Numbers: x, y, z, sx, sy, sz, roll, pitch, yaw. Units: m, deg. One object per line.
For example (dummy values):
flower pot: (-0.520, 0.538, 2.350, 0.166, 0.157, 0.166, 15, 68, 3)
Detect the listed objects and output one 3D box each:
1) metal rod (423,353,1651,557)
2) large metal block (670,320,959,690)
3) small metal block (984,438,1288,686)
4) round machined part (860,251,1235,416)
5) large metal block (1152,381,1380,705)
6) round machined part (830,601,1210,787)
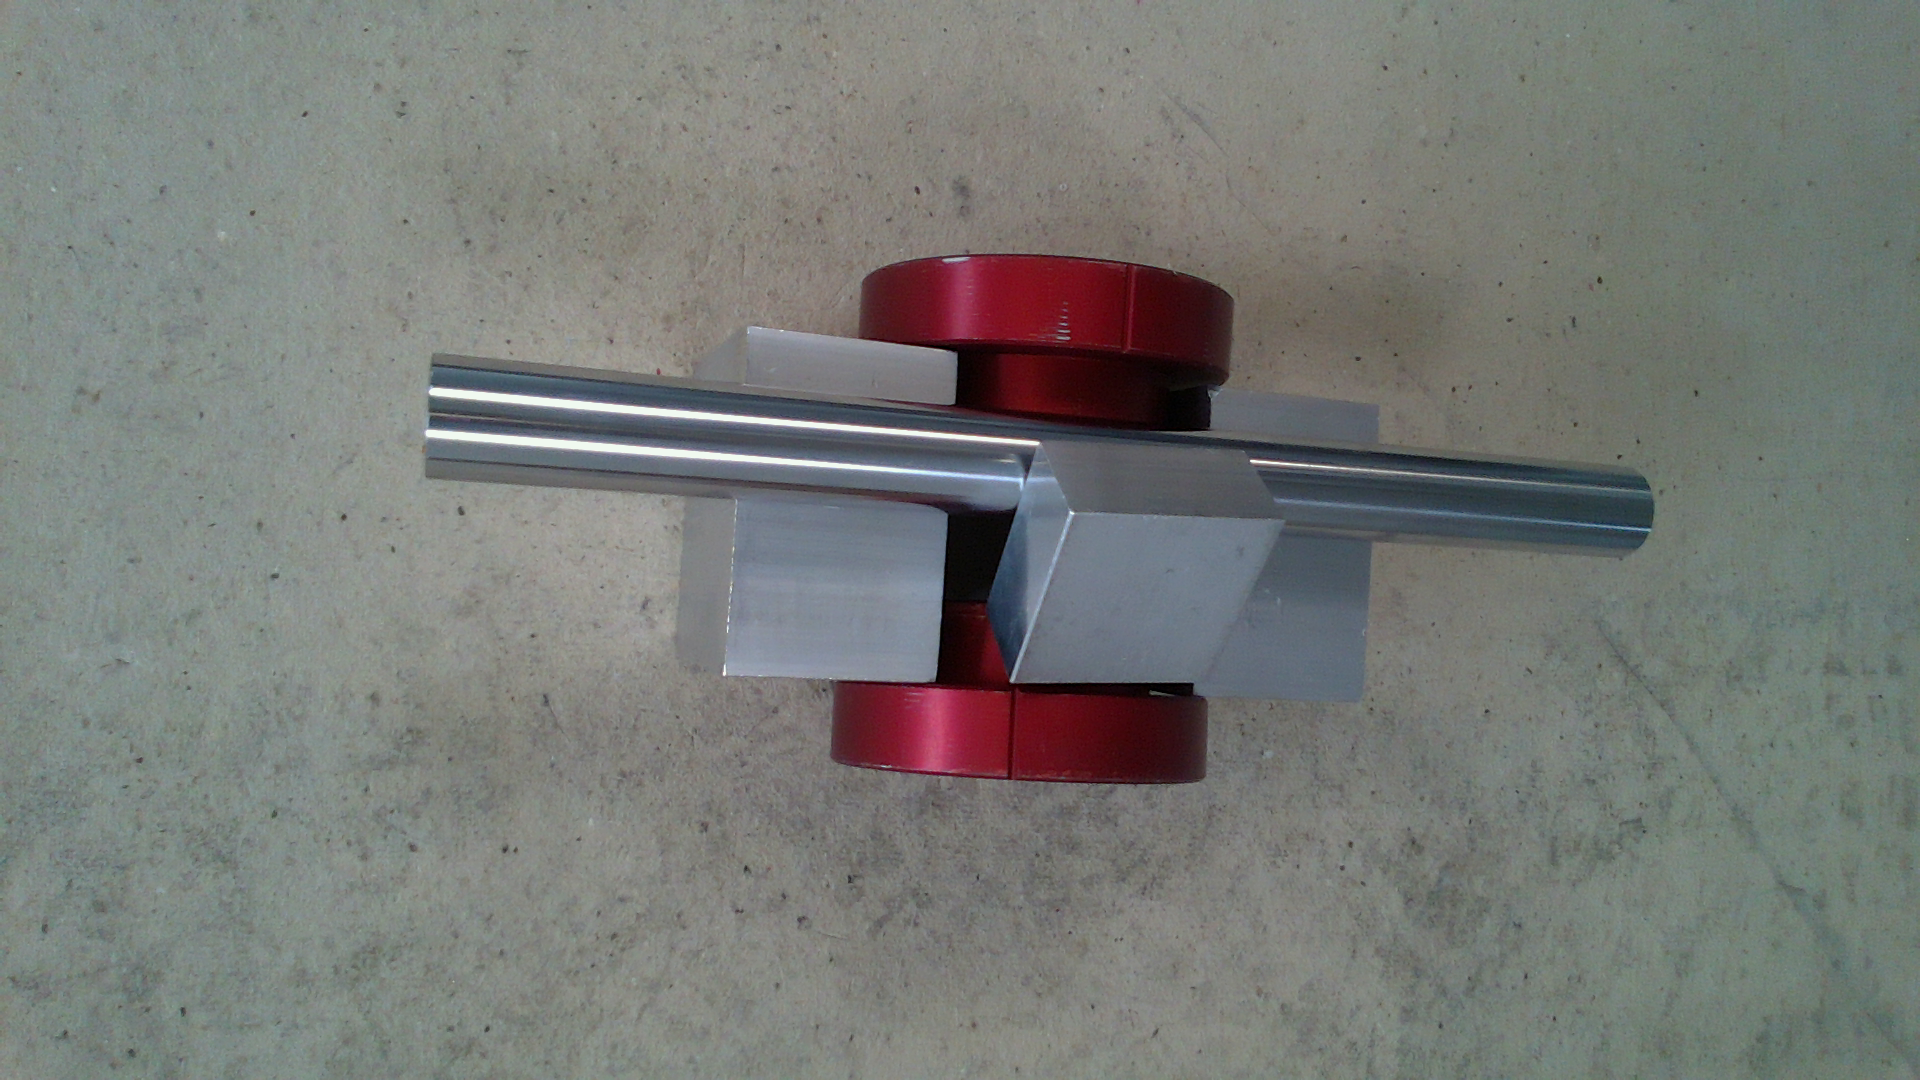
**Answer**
metal rod: (0.036, -0.016, 0.322, 0.301, 0.025, 0.025, 3, 89, -20)
large metal block: (-0.040, -0.007, 0.350, 0.050, 0.080, 0.080, 5, 89, -20)
small metal block: (0.038, 0.006, 0.308, 0.050, 0.025, 0.050, 2, 130, -18)
round machined part: (0.022, -0.044, 0.362, 0.098, 0.098, 0.042, 4, 90, -20)
large metal block: (0.071, 0.002, 0.390, 0.050, 0.080, 0.080, 4, 89, -20)
round machined part: (0.016, 0.040, 0.360, 0.098, 0.098, 0.042, 5, 83, -20)
